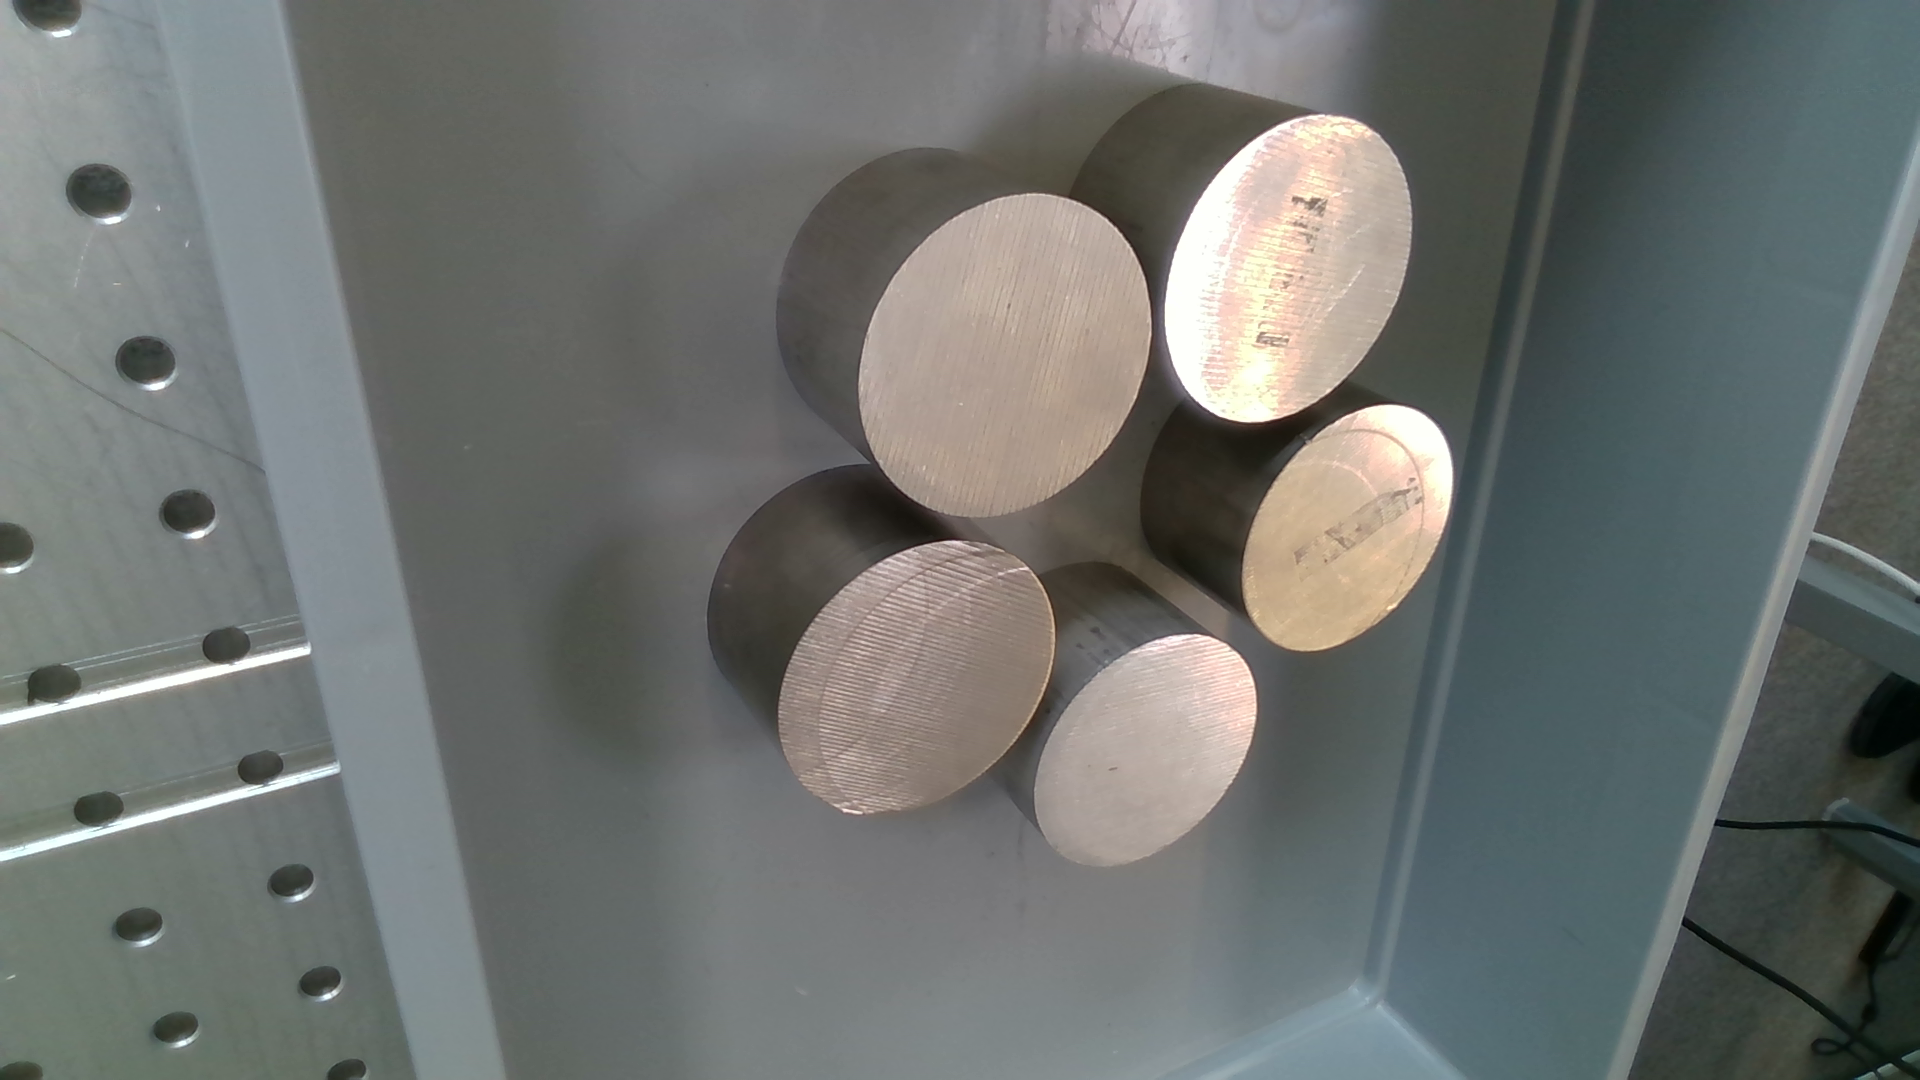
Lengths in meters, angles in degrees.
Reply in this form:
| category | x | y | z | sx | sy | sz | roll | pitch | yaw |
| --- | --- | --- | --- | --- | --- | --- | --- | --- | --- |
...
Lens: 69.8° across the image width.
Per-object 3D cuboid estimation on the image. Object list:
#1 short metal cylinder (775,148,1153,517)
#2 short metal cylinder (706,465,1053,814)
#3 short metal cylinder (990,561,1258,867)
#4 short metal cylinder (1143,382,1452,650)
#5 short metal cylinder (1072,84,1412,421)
| category | x | y | z | sx | sy | sz | roll | pitch | yaw |
| --- | --- | --- | --- | --- | --- | --- | --- | --- | --- |
| short metal cylinder | 0.001 | -0.052 | 0.344 | 0.080 | 0.050 | 0.080 | -14 | 122 | -25 |
| short metal cylinder | -0.022 | 0.026 | 0.372 | 0.080 | 0.050 | 0.080 | -14 | 122 | -25 |
| short metal cylinder | 0.045 | 0.053 | 0.428 | 0.080 | 0.050 | 0.080 | -14 | 122 | -25 |
| short metal cylinder | 0.105 | -0.013 | 0.429 | 0.080 | 0.050 | 0.080 | -14 | 122 | -25 |
| short metal cylinder | 0.074 | -0.079 | 0.375 | 0.080 | 0.050 | 0.080 | -14 | 122 | -25 |
